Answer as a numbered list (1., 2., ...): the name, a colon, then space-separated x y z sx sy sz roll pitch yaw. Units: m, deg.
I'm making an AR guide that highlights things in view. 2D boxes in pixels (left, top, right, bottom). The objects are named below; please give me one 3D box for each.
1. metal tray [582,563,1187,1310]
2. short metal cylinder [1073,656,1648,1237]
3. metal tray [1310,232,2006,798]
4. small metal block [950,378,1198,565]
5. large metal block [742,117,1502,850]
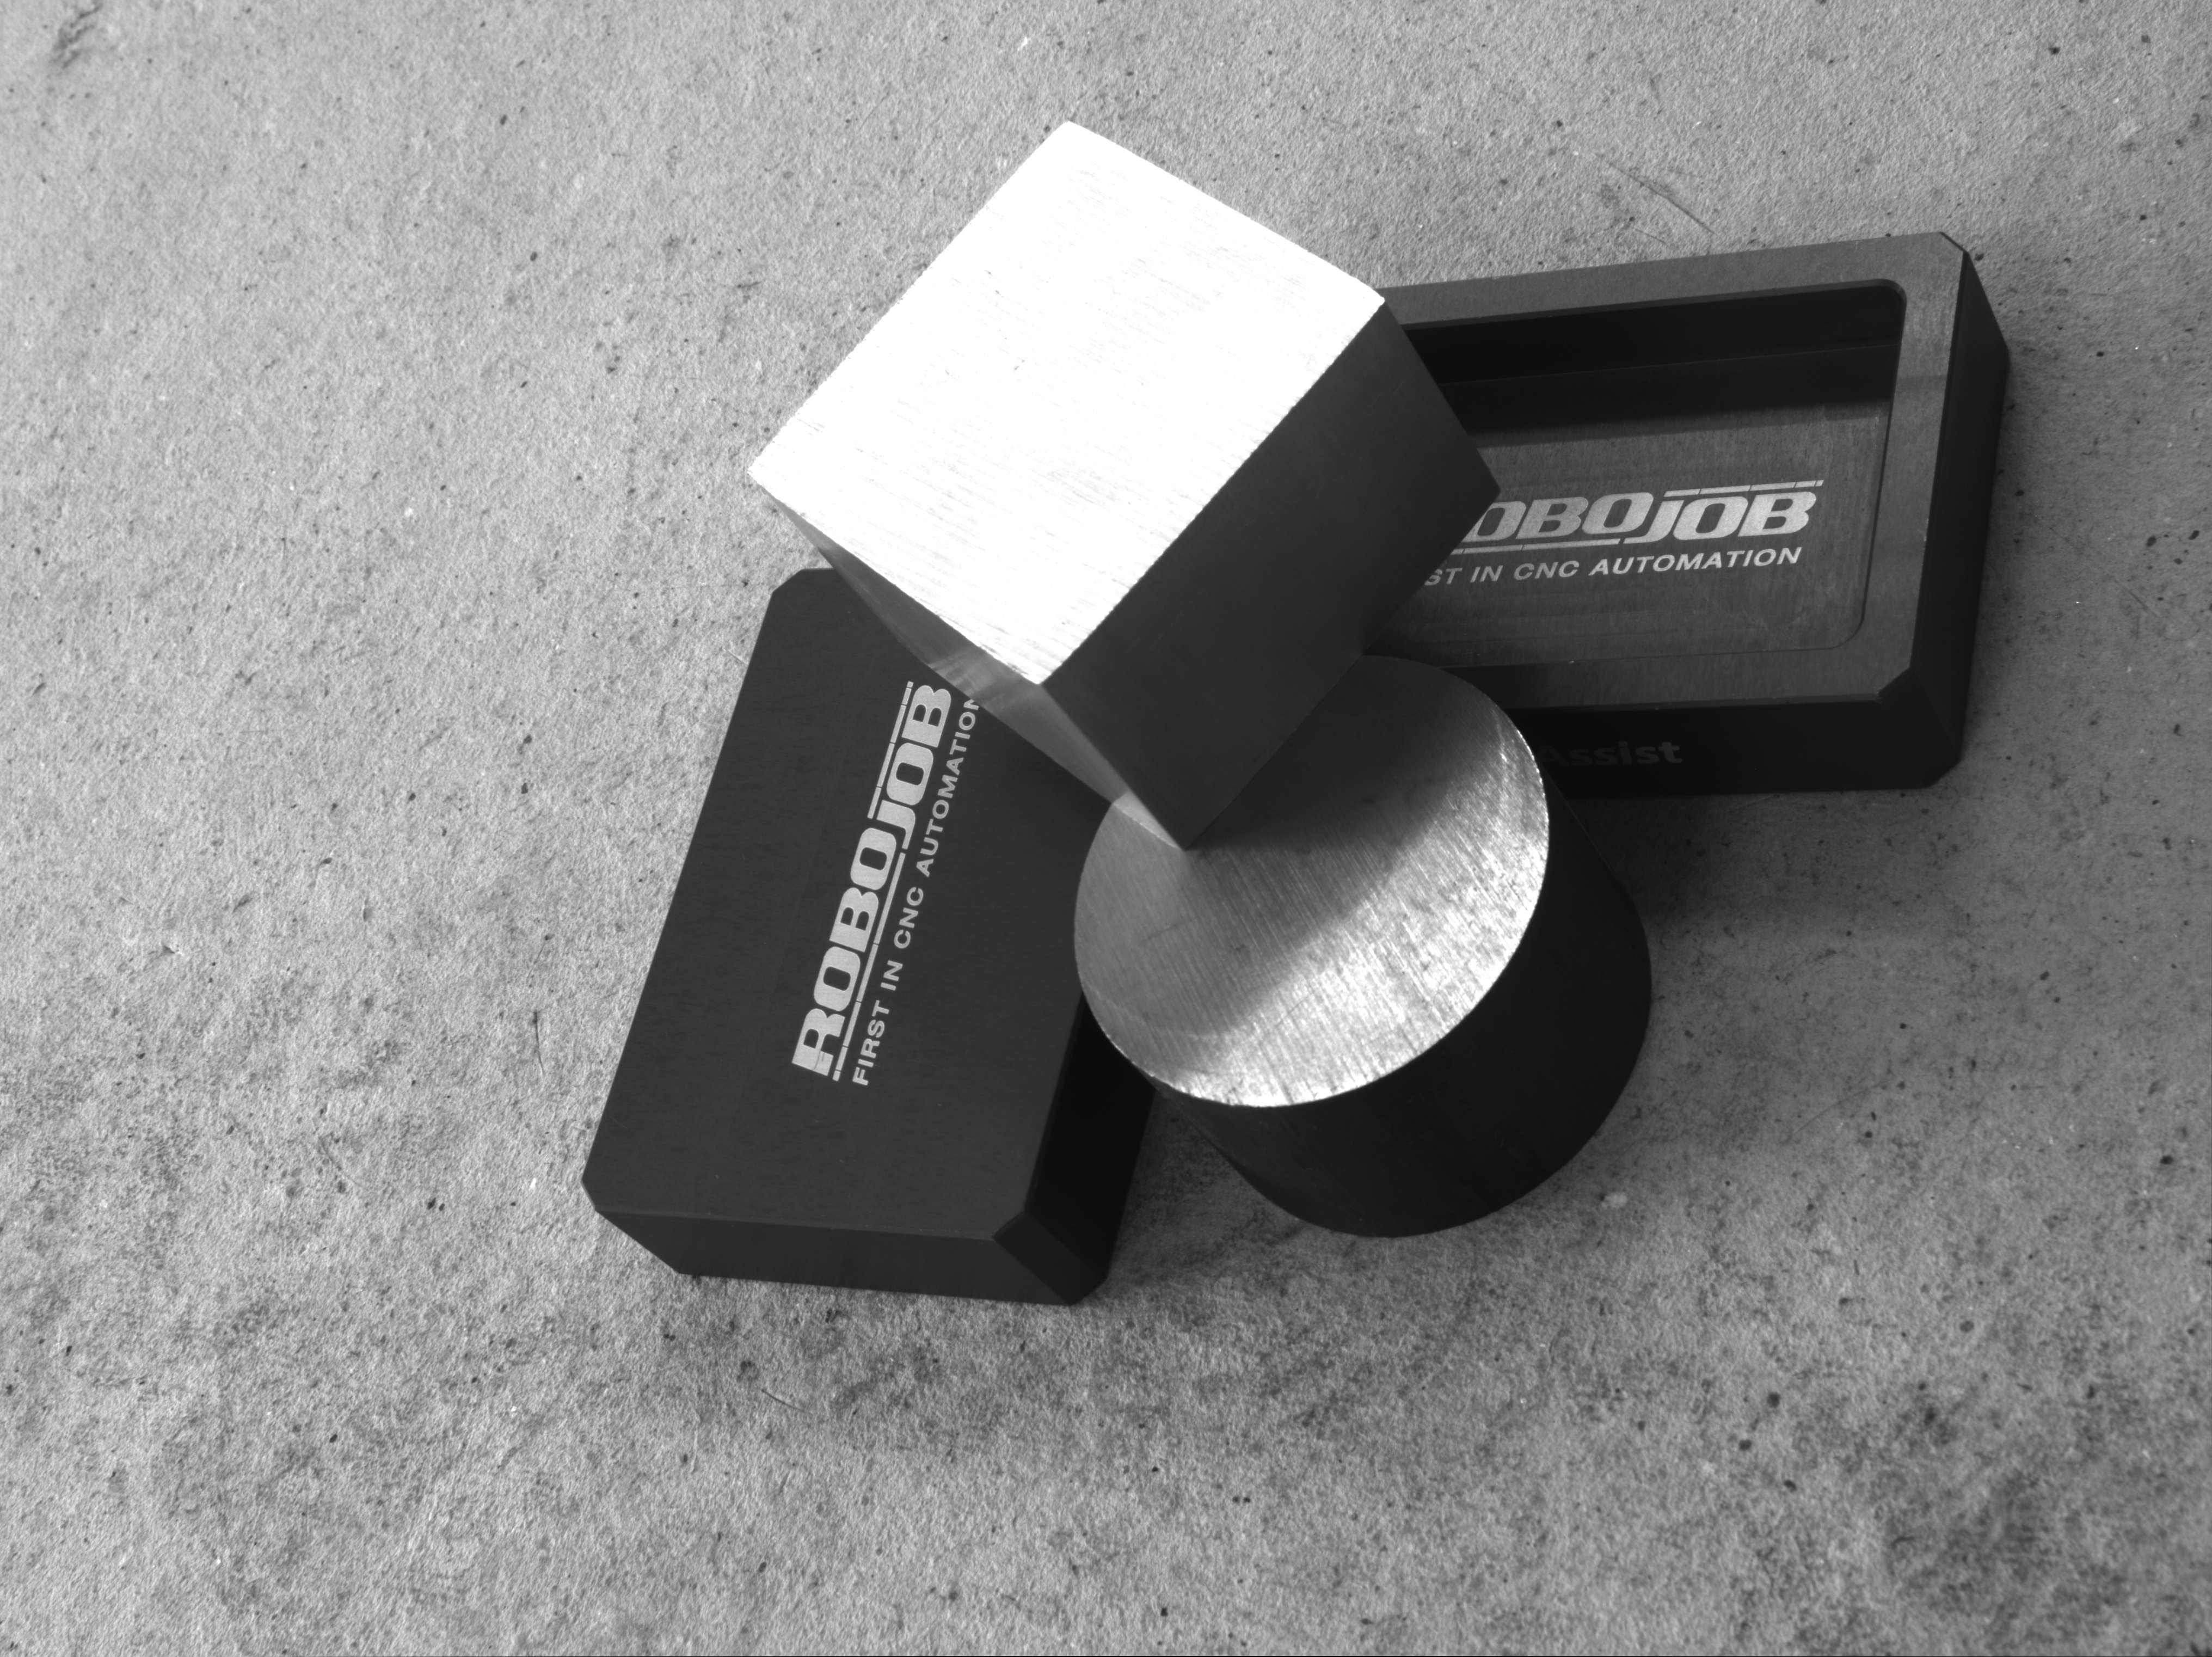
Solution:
1. metal tray: -0.031 0.016 0.651 0.090 0.030 0.130 1 62 29
2. short metal cylinder: 0.042 0.019 0.595 0.080 0.050 0.080 -14 56 21
3. metal tray: 0.083 -0.051 0.629 0.130 0.030 0.090 -2 61 28
4. small metal block: -0.002 -0.057 0.666 0.050 0.050 0.025 1 62 29
5. large metal block: 0.002 -0.057 0.597 0.080 0.050 0.080 -48 51 -5
